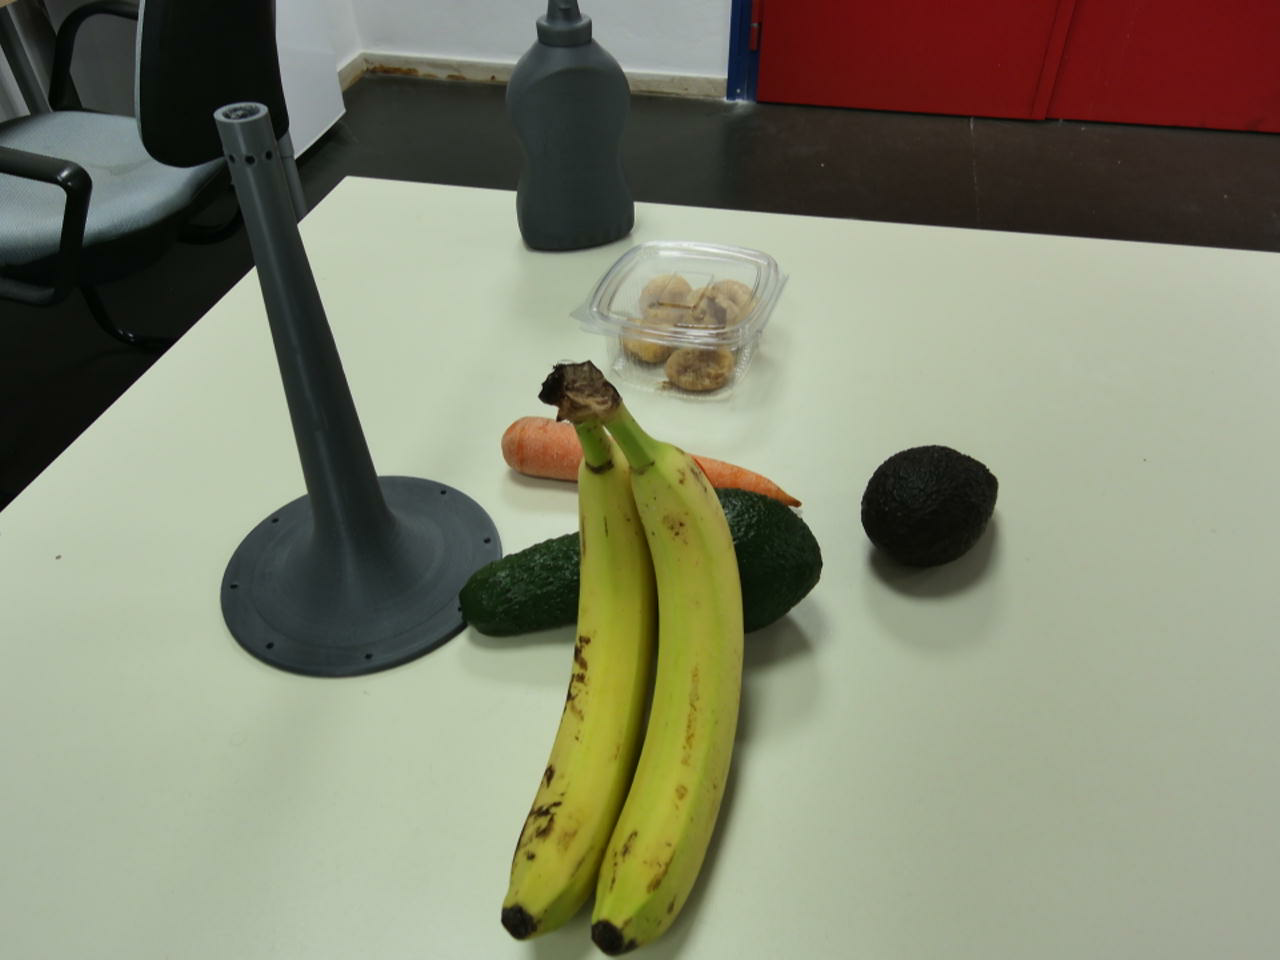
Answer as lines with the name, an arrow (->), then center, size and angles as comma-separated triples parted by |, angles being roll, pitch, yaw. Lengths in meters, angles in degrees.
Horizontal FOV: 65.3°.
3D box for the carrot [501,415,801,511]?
carrot -> 0.006, -0.010, 0.632 | 0.196, 0.041, 0.039 | 8, 40, 10
